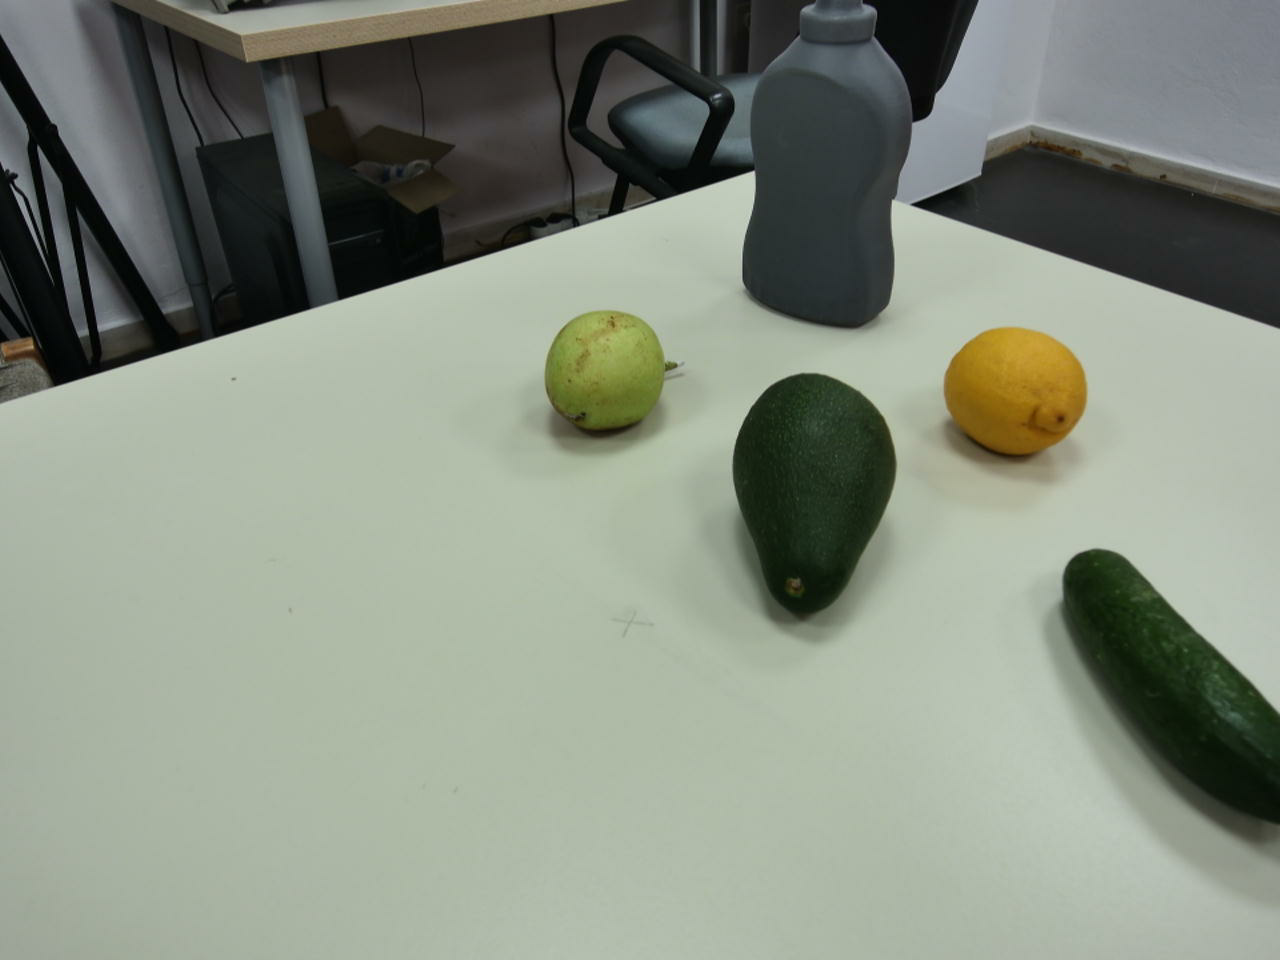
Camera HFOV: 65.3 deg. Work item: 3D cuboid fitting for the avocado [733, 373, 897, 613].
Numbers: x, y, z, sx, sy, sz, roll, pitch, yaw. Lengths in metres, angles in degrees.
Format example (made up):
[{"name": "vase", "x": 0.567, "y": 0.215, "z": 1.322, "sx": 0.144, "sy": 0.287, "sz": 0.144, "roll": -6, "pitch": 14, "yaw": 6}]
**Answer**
[{"name": "avocado", "x": 0.070, "y": 0.000, "z": 0.428, "sx": 0.073, "sy": 0.071, "sz": 0.109, "roll": 17, "pitch": 39, "yaw": 24}]
